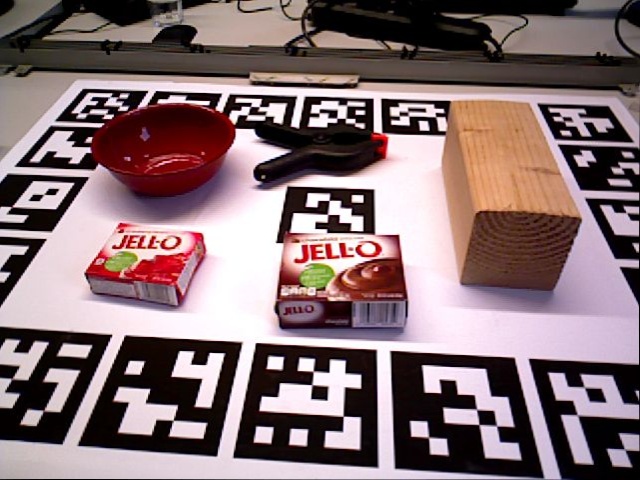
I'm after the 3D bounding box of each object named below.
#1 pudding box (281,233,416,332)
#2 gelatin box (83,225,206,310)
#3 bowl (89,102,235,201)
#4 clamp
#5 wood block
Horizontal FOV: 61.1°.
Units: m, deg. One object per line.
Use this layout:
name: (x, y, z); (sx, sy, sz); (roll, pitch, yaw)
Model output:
pudding box: (0.025, 0.036, 0.482); (0.113, 0.039, 0.088); (0, 46, 4)
gelatin box: (-0.160, 0.022, 0.503); (0.089, 0.031, 0.072); (8, 44, 9)
bowl: (-0.176, -0.095, 0.625); (0.161, 0.056, 0.159); (0, 45, -1)
clamp: (-0.014, -0.107, 0.654); (0.164, 0.037, 0.120); (-4, 42, -7)
wood block: (0.189, -0.054, 0.540); (0.089, 0.093, 0.202); (5, 43, 3)
